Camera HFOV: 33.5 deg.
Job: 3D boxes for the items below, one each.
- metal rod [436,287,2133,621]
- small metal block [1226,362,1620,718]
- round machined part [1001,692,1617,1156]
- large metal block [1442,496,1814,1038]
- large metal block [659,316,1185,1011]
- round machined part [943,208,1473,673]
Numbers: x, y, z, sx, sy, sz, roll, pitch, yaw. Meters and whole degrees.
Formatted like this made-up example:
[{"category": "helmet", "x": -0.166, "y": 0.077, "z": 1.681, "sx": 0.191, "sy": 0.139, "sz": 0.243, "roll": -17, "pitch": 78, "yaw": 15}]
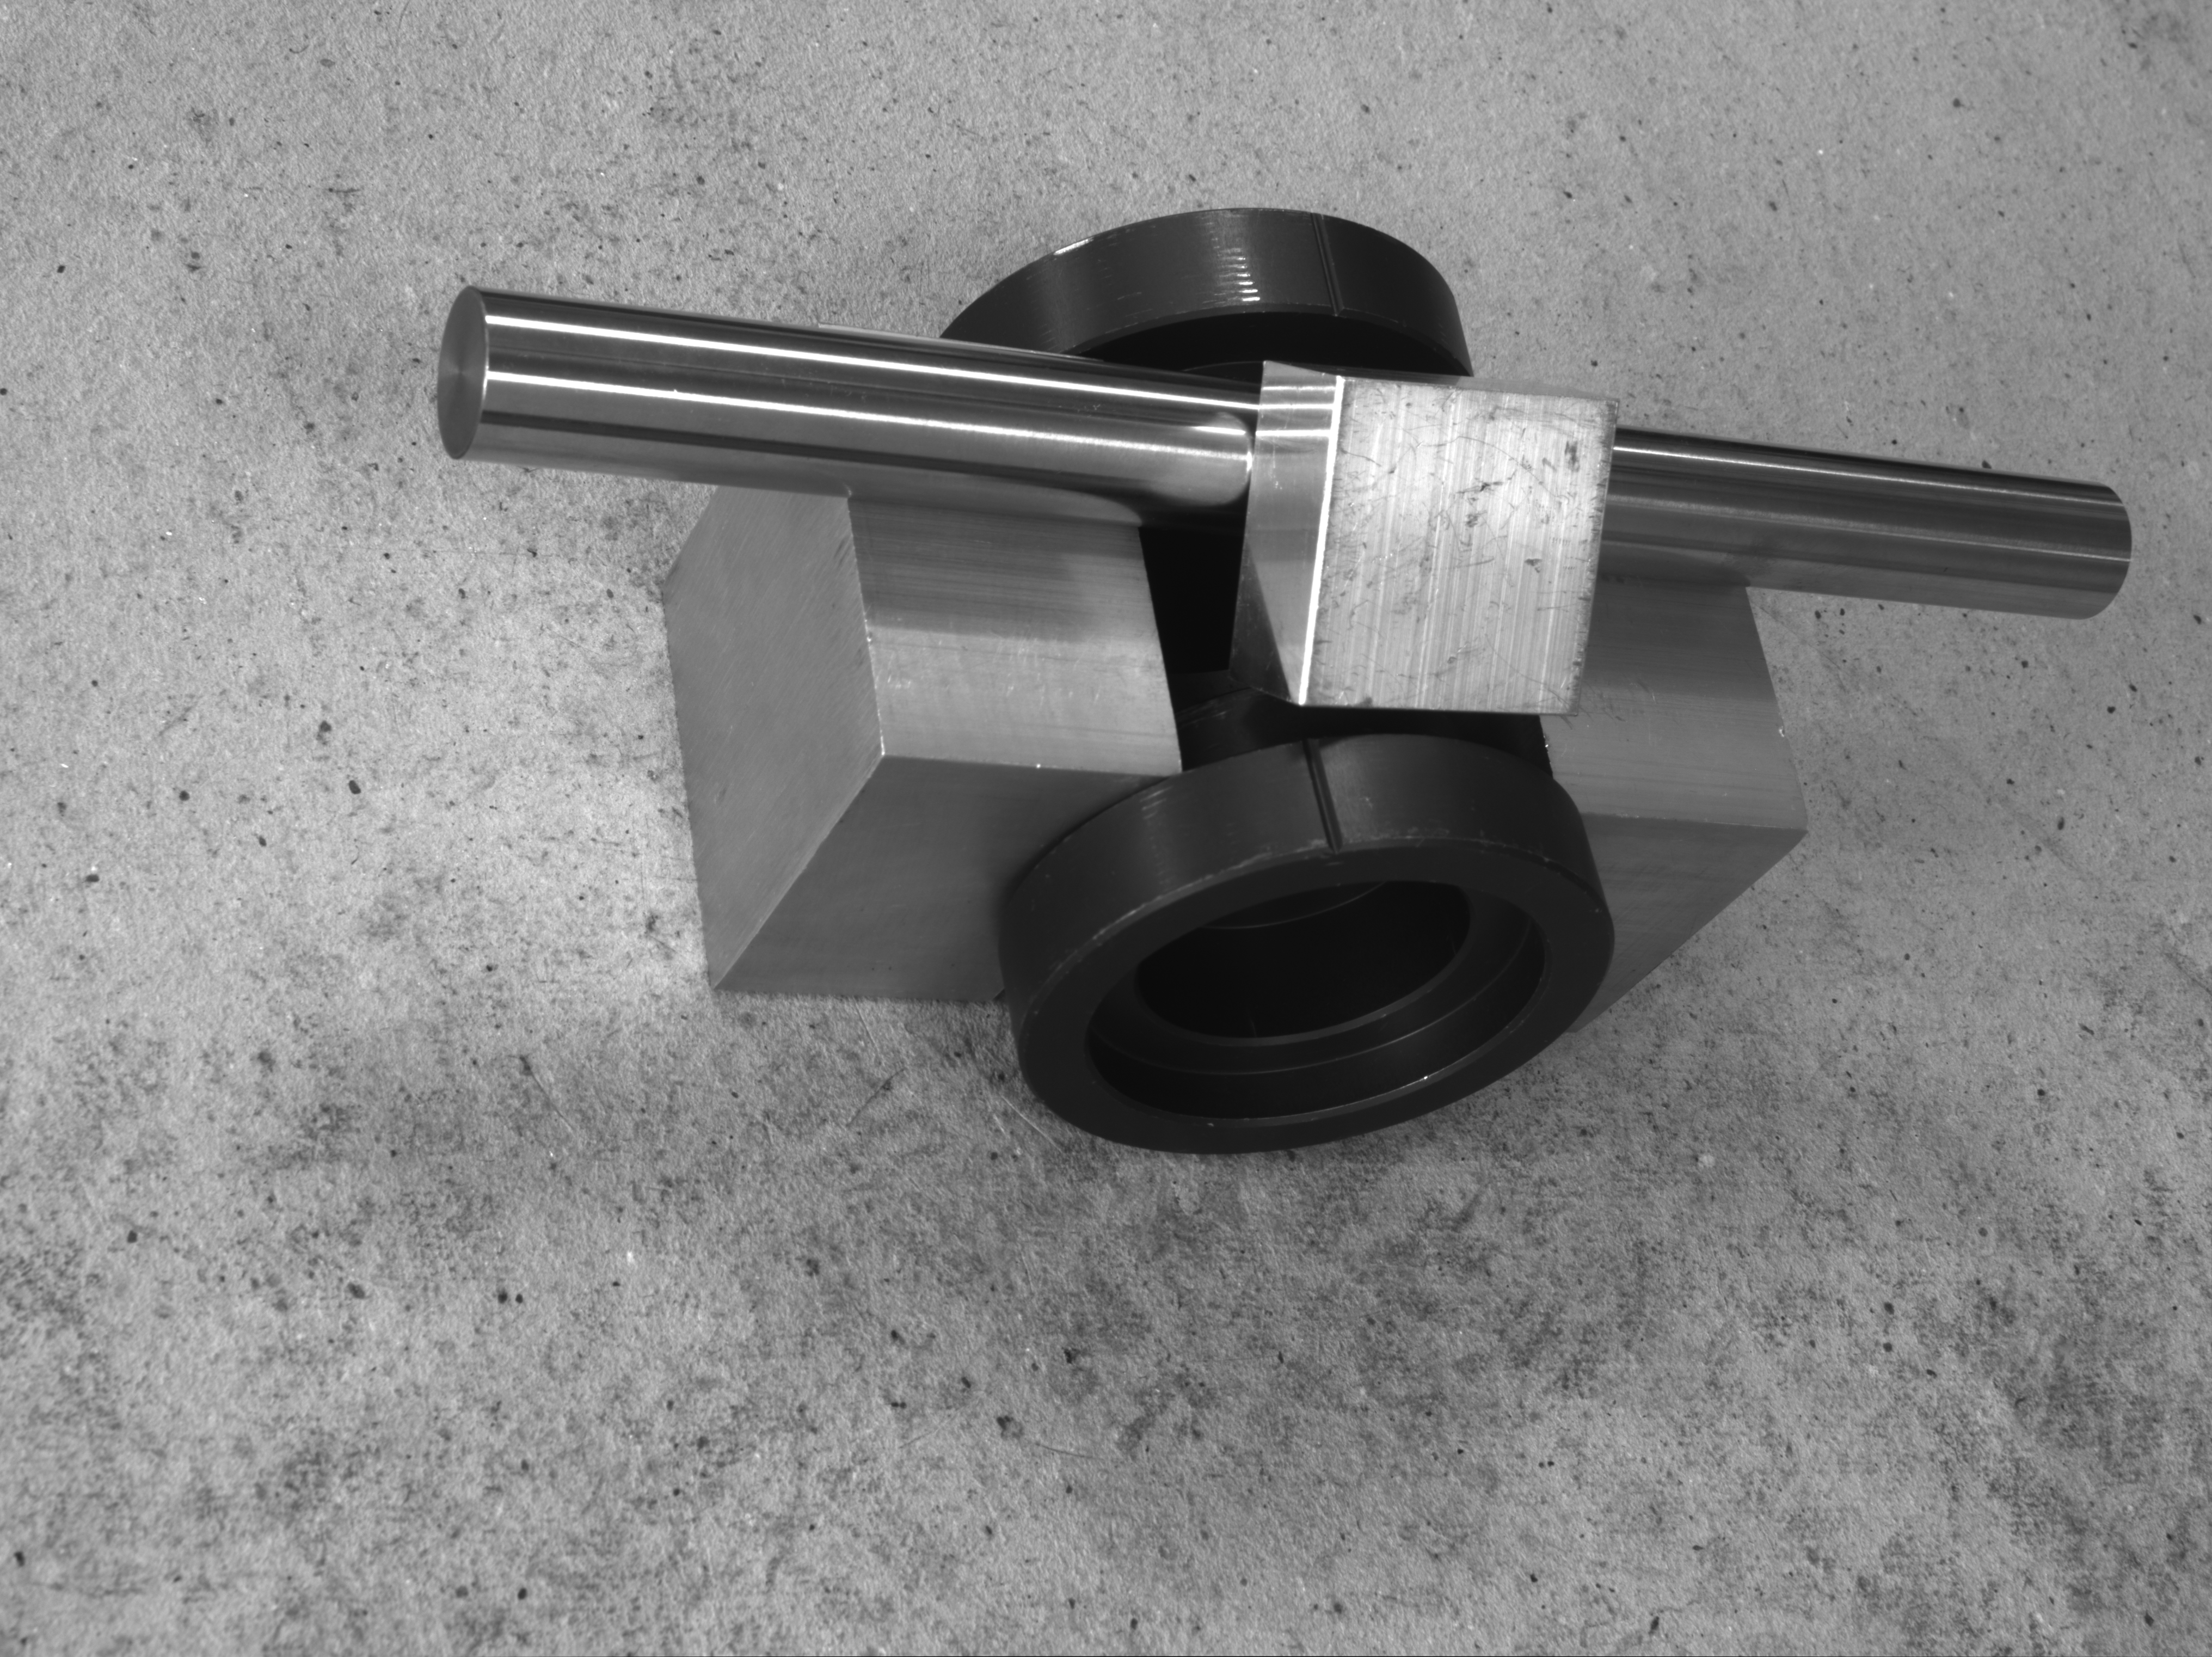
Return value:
[{"category": "metal rod", "x": 0.042, "y": -0.058, "z": 0.594, "sx": 0.301, "sy": 0.025, "sz": 0.025, "roll": 3, "pitch": 60, "yaw": -26}, {"category": "small metal block", "x": 0.049, "y": -0.045, "z": 0.573, "sx": 0.050, "sy": 0.025, "sz": 0.050, "roll": 1, "pitch": 102, "yaw": -26}, {"category": "round machined part", "x": 0.031, "y": 0.012, "z": 0.602, "sx": 0.098, "sy": 0.098, "sz": 0.042, "roll": 5, "pitch": 54, "yaw": -26}, {"category": "large metal block", "x": 0.073, "y": -0.017, "z": 0.654, "sx": 0.050, "sy": 0.080, "sz": 0.080, "roll": 4, "pitch": 60, "yaw": -26}, {"category": "large metal block", "x": -0.033, "y": -0.025, "z": 0.602, "sx": 0.050, "sy": 0.080, "sz": 0.080, "roll": 4, "pitch": 60, "yaw": -26}, {"category": "round machined part", "x": 0.018, "y": -0.062, "z": 0.640, "sx": 0.098, "sy": 0.098, "sz": 0.042, "roll": 4, "pitch": 61, "yaw": -26}]
